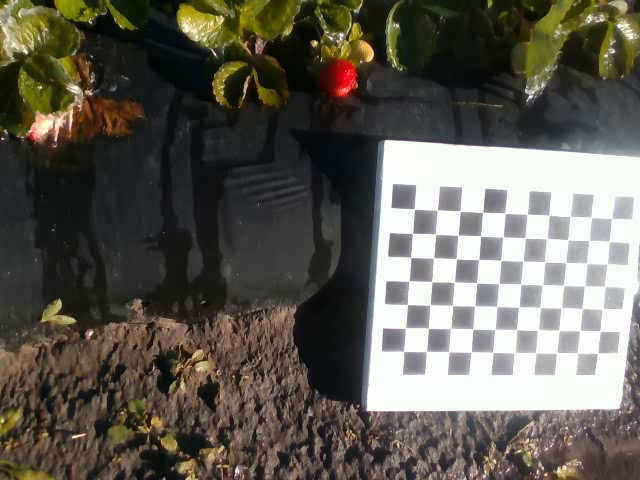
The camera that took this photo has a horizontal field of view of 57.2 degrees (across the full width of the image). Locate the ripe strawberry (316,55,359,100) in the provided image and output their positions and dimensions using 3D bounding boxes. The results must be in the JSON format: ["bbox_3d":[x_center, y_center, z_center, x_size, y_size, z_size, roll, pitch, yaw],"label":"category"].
[{"bbox_3d":[0.015,-0.118,0.436,0.039,0.040,0.039,-6,31,1],"label":"ripe strawberry"}]
